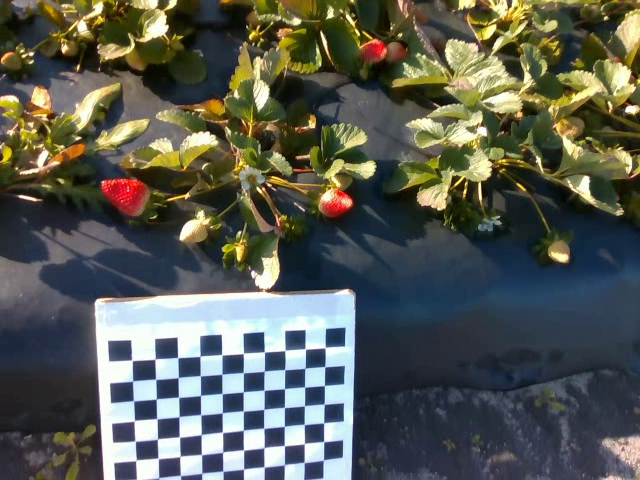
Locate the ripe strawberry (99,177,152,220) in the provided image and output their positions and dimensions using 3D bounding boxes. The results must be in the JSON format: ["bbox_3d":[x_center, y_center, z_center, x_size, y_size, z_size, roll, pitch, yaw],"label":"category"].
[{"bbox_3d":[-0.186,-0.046,0.565,0.053,0.044,0.036,26,3,-24],"label":"ripe strawberry"}]

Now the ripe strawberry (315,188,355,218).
[{"bbox_3d":[0.019,-0.039,0.607,0.042,0.037,0.045,-27,17,-38],"label":"ripe strawberry"}]
